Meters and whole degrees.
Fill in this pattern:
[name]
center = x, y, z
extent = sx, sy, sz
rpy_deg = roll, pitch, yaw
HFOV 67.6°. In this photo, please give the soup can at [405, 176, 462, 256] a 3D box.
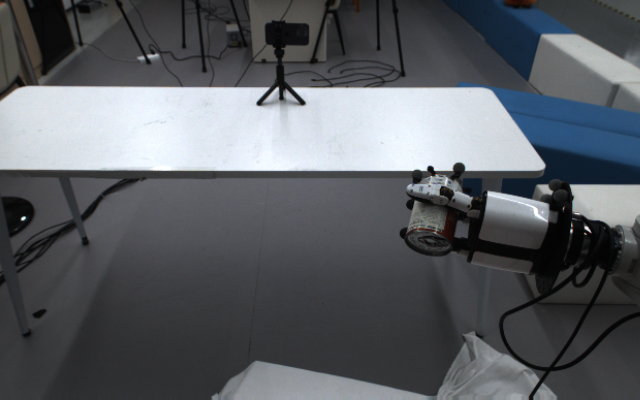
[soup can]
center = 0.168, 0.019, 0.708
extent = 0.067, 0.067, 0.101
rpy_deg = 12, 59, 14
